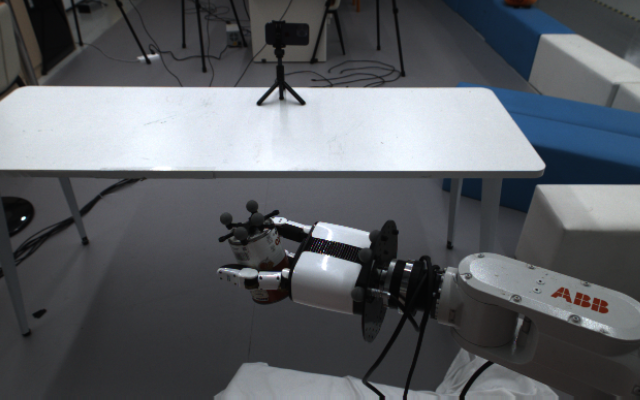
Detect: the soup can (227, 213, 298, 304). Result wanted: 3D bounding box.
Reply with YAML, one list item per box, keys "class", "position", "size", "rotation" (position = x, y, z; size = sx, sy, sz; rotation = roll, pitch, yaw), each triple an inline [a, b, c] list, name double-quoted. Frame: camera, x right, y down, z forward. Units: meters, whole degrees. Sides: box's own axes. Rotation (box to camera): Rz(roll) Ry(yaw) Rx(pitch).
- class: "soup can"
  position: [-0.077, 0.085, 0.669]
  size: [0.067, 0.101, 0.067]
  rotation: [-16, 23, 7]
